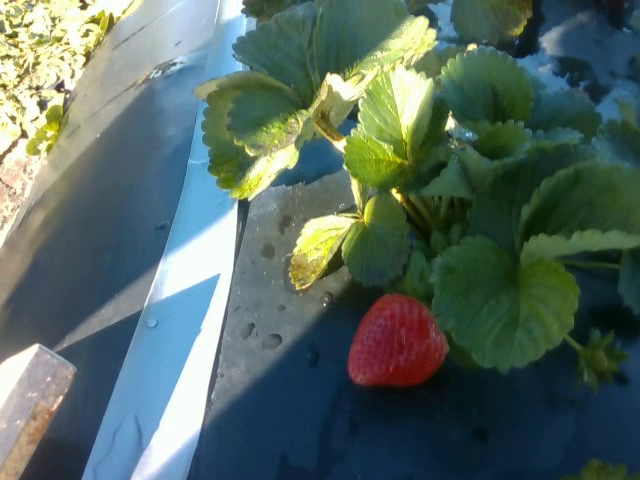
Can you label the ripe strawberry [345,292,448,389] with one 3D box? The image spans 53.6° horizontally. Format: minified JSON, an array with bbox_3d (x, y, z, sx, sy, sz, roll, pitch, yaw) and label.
[{"bbox_3d":[0.031,0.047,0.277,0.058,0.042,0.045,-39,20,-27],"label":"ripe strawberry"}]
